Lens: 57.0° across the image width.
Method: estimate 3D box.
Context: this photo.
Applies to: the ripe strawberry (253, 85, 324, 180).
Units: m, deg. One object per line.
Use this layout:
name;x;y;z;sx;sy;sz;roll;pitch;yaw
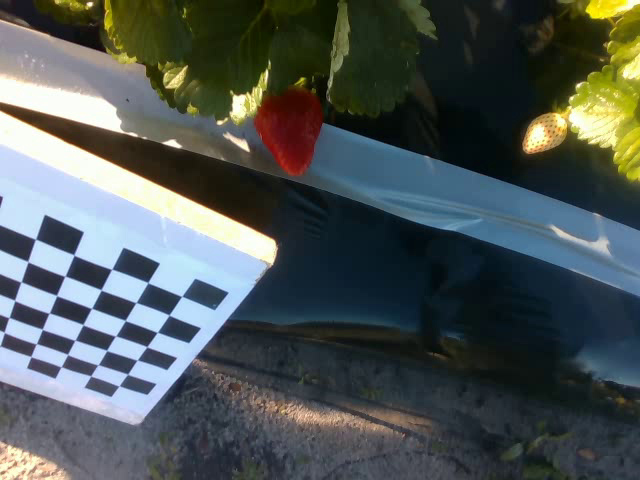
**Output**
ripe strawberry;-0.019;-0.066;0.348;0.045;0.064;0.048;-22;-23;30
